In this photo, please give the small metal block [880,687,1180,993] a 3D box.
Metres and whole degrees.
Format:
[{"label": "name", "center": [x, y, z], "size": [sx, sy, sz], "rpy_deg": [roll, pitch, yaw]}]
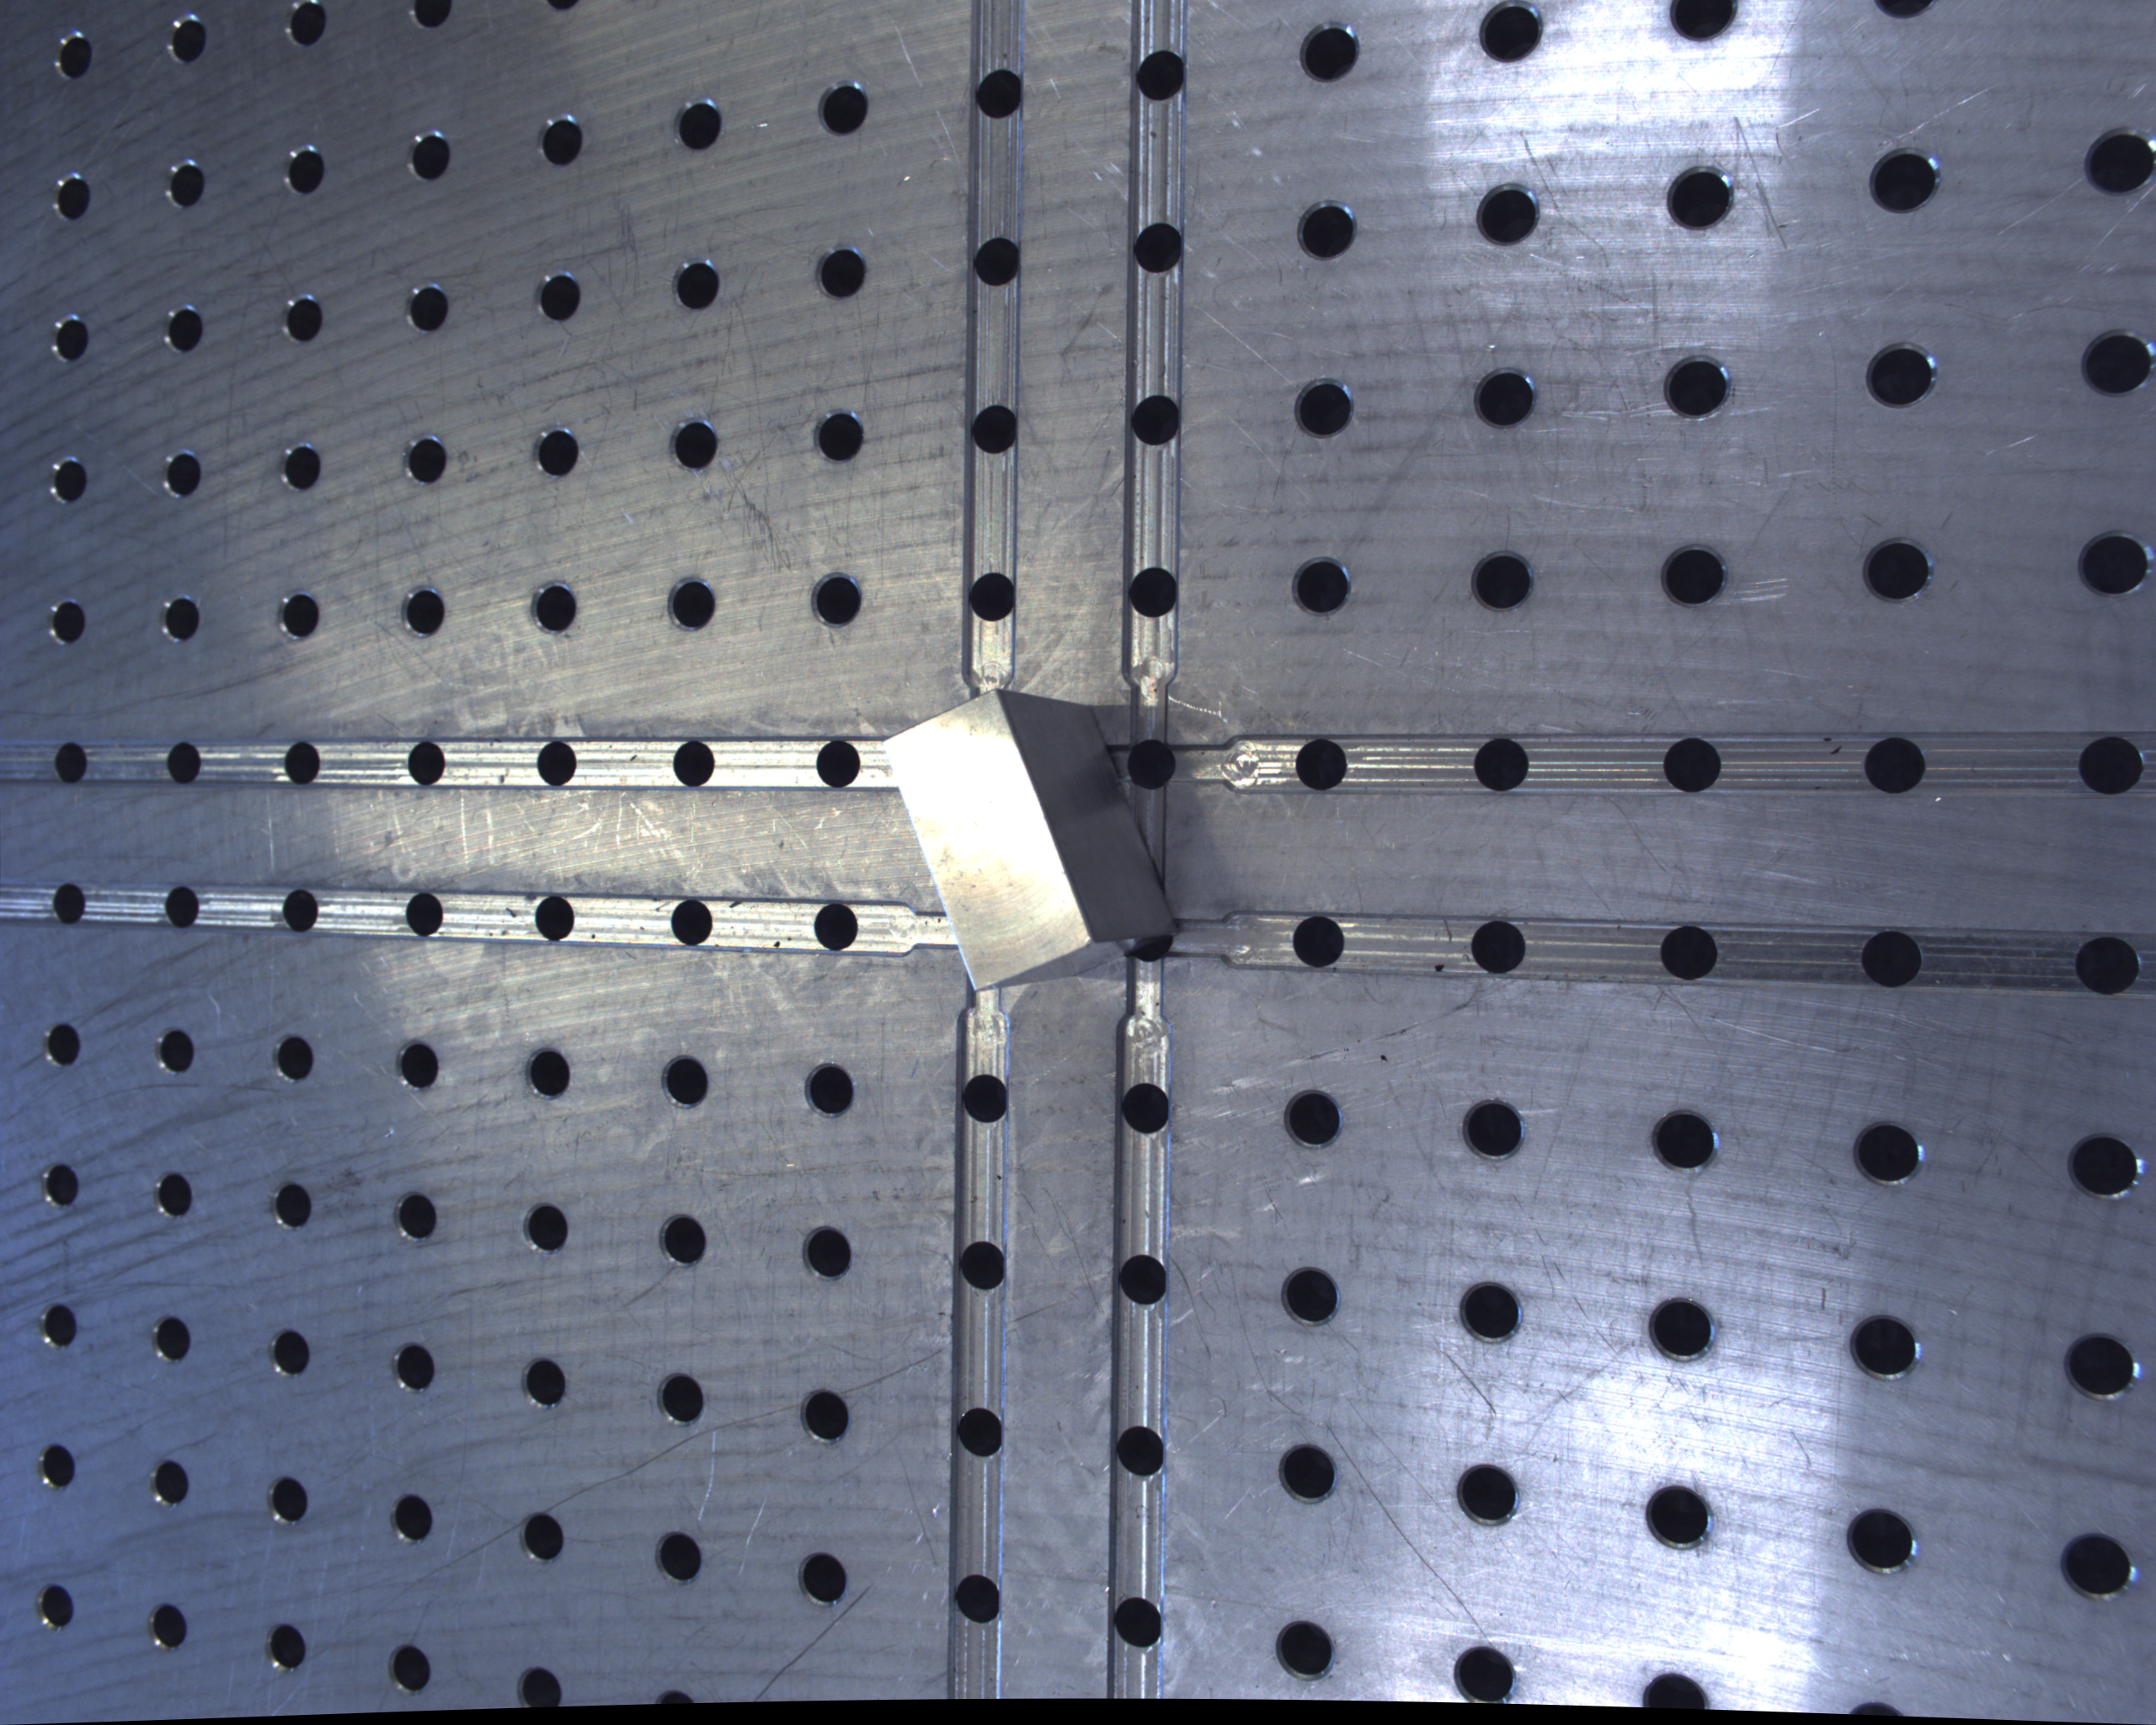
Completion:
[{"label": "small metal block", "center": [-0.008, -0.004, 0.402], "size": [0.025, 0.050, 0.050], "rpy_deg": [-24, 83, 18]}]
